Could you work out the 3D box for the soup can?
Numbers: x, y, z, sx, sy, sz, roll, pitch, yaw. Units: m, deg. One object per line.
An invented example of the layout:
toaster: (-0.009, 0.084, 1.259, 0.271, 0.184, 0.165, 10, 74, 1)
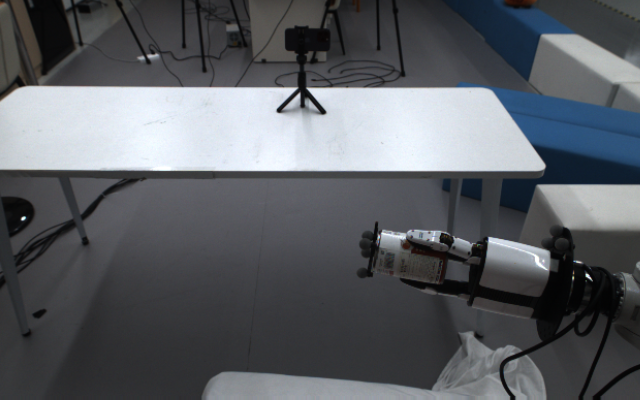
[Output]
soup can: (0.135, 0.083, 0.712, 0.101, 0.067, 0.067, 9, 35, 9)
